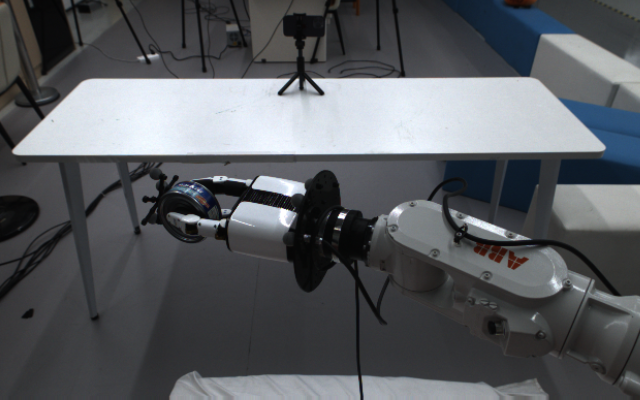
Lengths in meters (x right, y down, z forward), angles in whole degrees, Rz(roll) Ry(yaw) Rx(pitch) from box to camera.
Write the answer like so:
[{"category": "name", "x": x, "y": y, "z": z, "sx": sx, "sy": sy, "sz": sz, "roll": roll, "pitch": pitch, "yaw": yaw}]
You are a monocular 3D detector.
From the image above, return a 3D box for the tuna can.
[{"category": "tuna can", "x": -0.183, "y": 0.018, "z": 0.683, "sx": 0.085, "sy": 0.085, "sz": 0.034, "roll": 12, "pitch": 31, "yaw": 15}]
